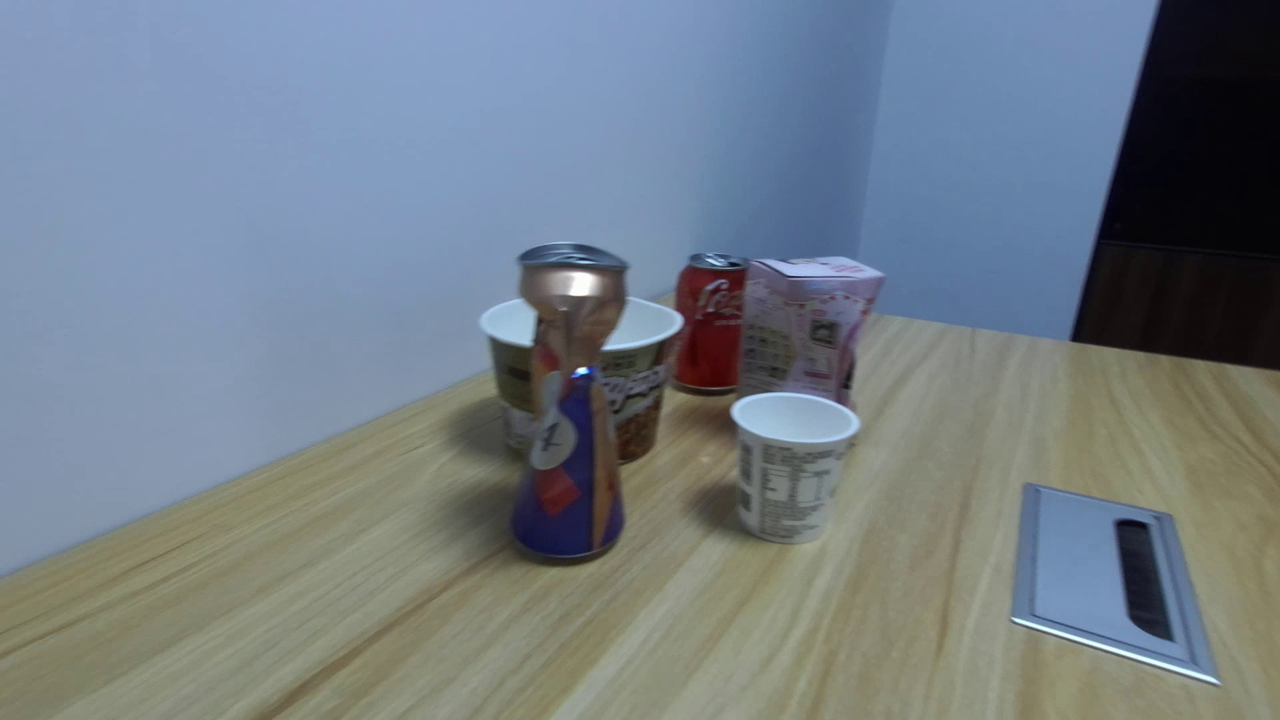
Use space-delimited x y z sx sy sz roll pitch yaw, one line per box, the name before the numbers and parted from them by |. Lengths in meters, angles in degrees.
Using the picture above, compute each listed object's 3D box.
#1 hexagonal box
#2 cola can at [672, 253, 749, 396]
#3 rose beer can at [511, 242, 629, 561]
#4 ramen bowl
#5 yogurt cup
hexagonal box | 0.117 -0.002 0.503 0.093 0.134 0.088 4 19 1
cola can | 0.062 -0.032 0.613 0.067 0.117 0.065 -8 22 -34
rose beer can | -0.038 0.023 0.377 0.073 0.162 0.068 19 25 37
ramen bowl | -0.041 0.014 0.510 0.140 0.095 0.140 1 17 0
yogurt cup | 0.086 0.063 0.408 0.072 0.068 0.072 1 20 0
